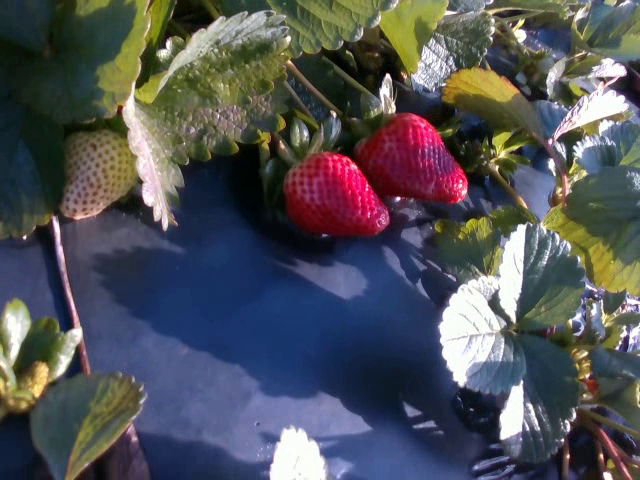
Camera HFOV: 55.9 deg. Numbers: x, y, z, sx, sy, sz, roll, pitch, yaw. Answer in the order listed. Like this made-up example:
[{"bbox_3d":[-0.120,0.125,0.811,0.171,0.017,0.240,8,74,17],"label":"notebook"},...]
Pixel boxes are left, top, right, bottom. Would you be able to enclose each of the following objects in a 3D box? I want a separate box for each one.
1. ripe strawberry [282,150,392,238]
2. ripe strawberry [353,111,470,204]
[{"bbox_3d":[0.009,-0.015,0.242,0.051,0.043,0.037,32,-14,13],"label":"ripe strawberry"},{"bbox_3d":[0.047,-0.034,0.278,0.057,0.052,0.046,37,-20,17],"label":"ripe strawberry"}]
